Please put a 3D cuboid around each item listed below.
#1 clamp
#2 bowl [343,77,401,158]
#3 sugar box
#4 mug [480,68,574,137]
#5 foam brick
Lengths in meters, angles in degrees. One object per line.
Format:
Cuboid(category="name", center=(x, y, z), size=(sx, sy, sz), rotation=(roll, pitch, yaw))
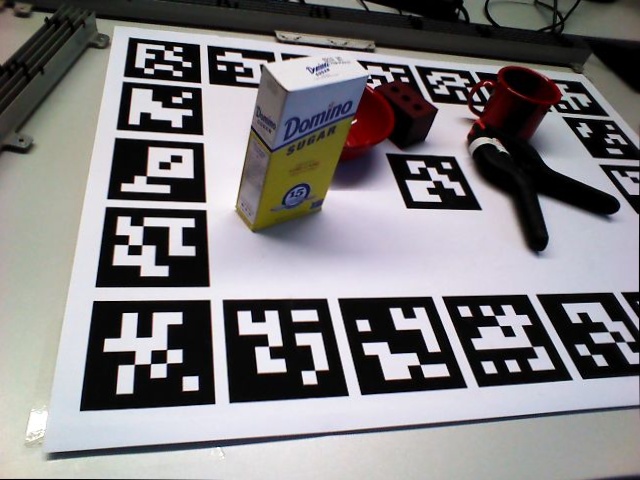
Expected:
Cuboid(category="clamp", center=(0.274, -0.093, 0.677), size=(0.164, 0.037, 0.202), rotation=(-22, 61, -26))
Cuboid(category="bowl", center=(0.017, -0.154, 0.655), size=(0.162, 0.055, 0.160), rotation=(8, 50, -10))
Cuboid(category="sugar box", center=(-0.020, -0.087, 0.512), size=(0.092, 0.177, 0.045), rotation=(-22, 62, -30))
Cuboid(category="mug", center=(0.289, -0.204, 0.747), size=(0.117, 0.082, 0.092), rotation=(22, 49, -1))
Cuboid(category="foam brick", center=(0.124, -0.170, 0.707), size=(0.052, 0.051, 0.078), rotation=(-25, 62, -29))
